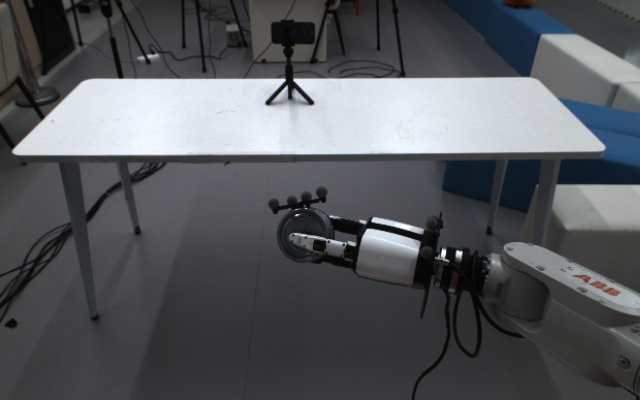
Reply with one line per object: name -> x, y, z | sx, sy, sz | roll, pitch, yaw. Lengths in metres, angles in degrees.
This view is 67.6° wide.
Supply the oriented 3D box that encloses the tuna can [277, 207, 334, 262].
tuna can -> -0.019, 0.060, 0.741 | 0.085, 0.085, 0.034 | 12, 3, 14
